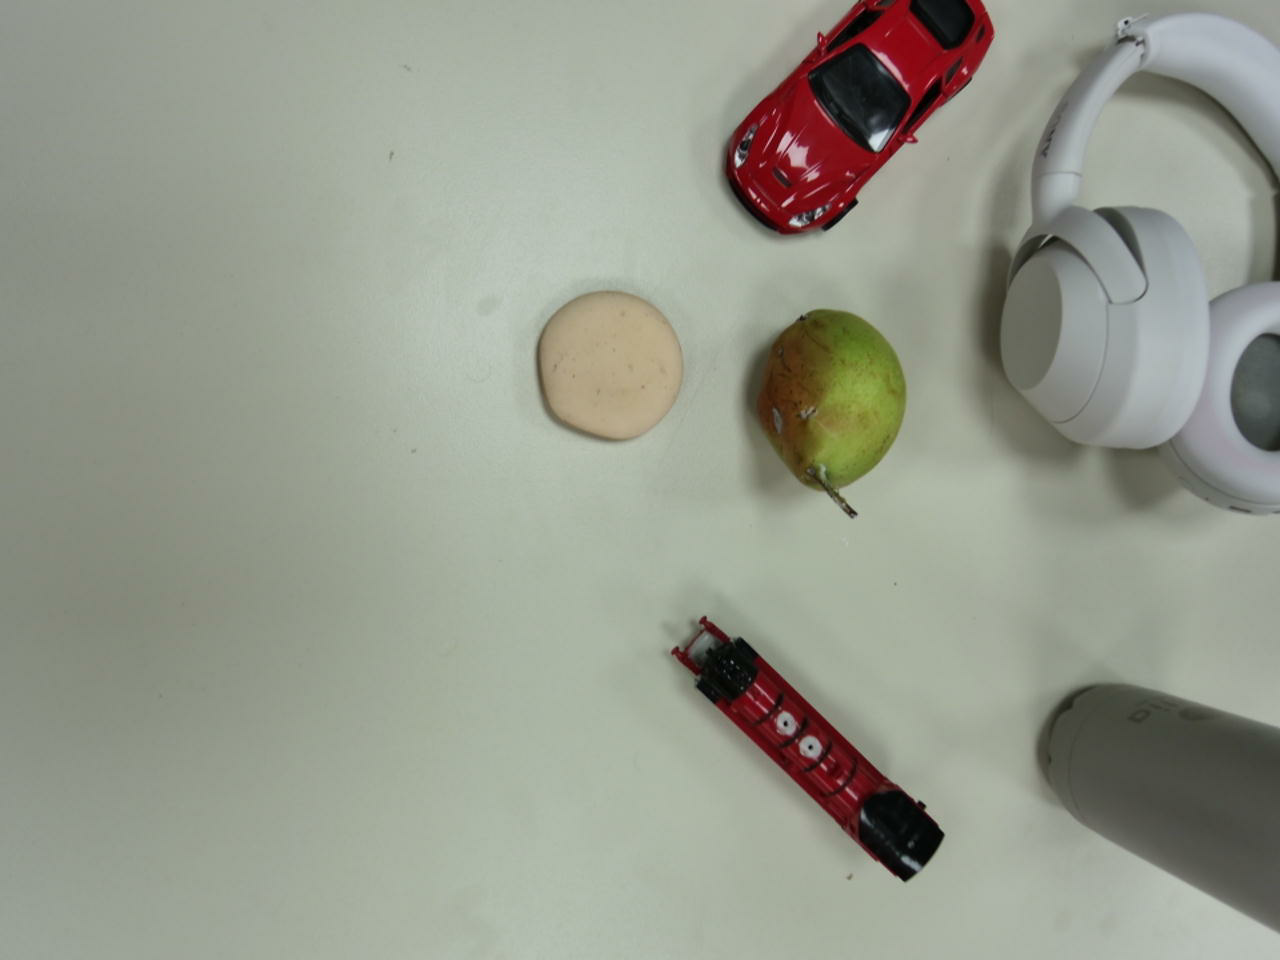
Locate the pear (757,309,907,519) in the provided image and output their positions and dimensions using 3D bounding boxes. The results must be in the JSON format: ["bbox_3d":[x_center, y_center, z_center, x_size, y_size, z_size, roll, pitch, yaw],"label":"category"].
[{"bbox_3d":[0.079,-0.034,0.417,0.070,0.069,0.068,-40,98,-9],"label":"pear"}]
